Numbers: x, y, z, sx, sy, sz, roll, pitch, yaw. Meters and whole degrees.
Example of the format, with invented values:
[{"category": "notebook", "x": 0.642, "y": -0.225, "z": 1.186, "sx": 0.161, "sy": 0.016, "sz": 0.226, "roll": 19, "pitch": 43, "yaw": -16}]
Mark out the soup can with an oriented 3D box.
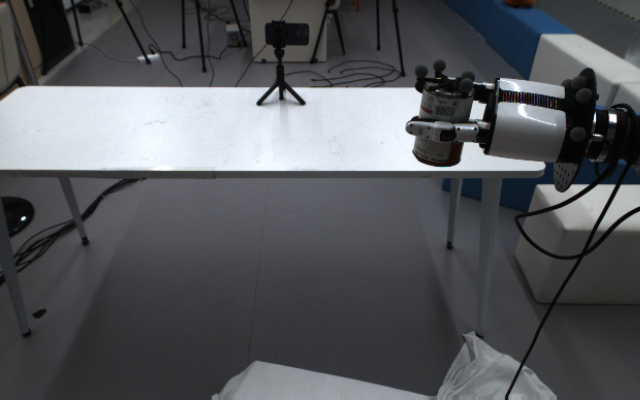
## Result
[{"category": "soup can", "x": 0.167, "y": -0.106, "z": 0.661, "sx": 0.067, "sy": 0.101, "sz": 0.067, "roll": 2, "pitch": 32, "yaw": -1}]
